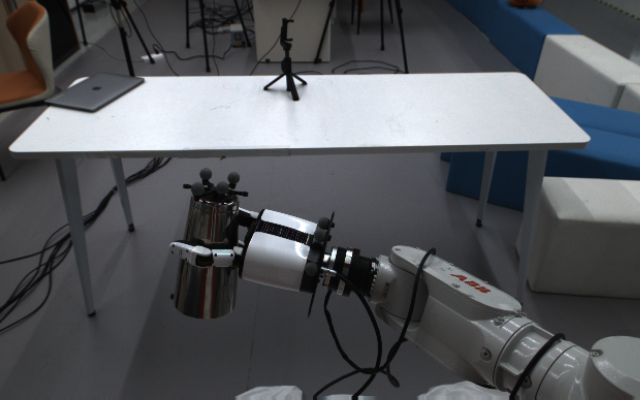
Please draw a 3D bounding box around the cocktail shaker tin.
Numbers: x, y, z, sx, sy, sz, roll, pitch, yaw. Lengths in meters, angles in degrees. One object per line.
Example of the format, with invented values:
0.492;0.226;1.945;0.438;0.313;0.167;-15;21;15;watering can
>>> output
-0.158;0.073;0.699;0.093;0.170;0.093;9;19;-3;cocktail shaker tin
